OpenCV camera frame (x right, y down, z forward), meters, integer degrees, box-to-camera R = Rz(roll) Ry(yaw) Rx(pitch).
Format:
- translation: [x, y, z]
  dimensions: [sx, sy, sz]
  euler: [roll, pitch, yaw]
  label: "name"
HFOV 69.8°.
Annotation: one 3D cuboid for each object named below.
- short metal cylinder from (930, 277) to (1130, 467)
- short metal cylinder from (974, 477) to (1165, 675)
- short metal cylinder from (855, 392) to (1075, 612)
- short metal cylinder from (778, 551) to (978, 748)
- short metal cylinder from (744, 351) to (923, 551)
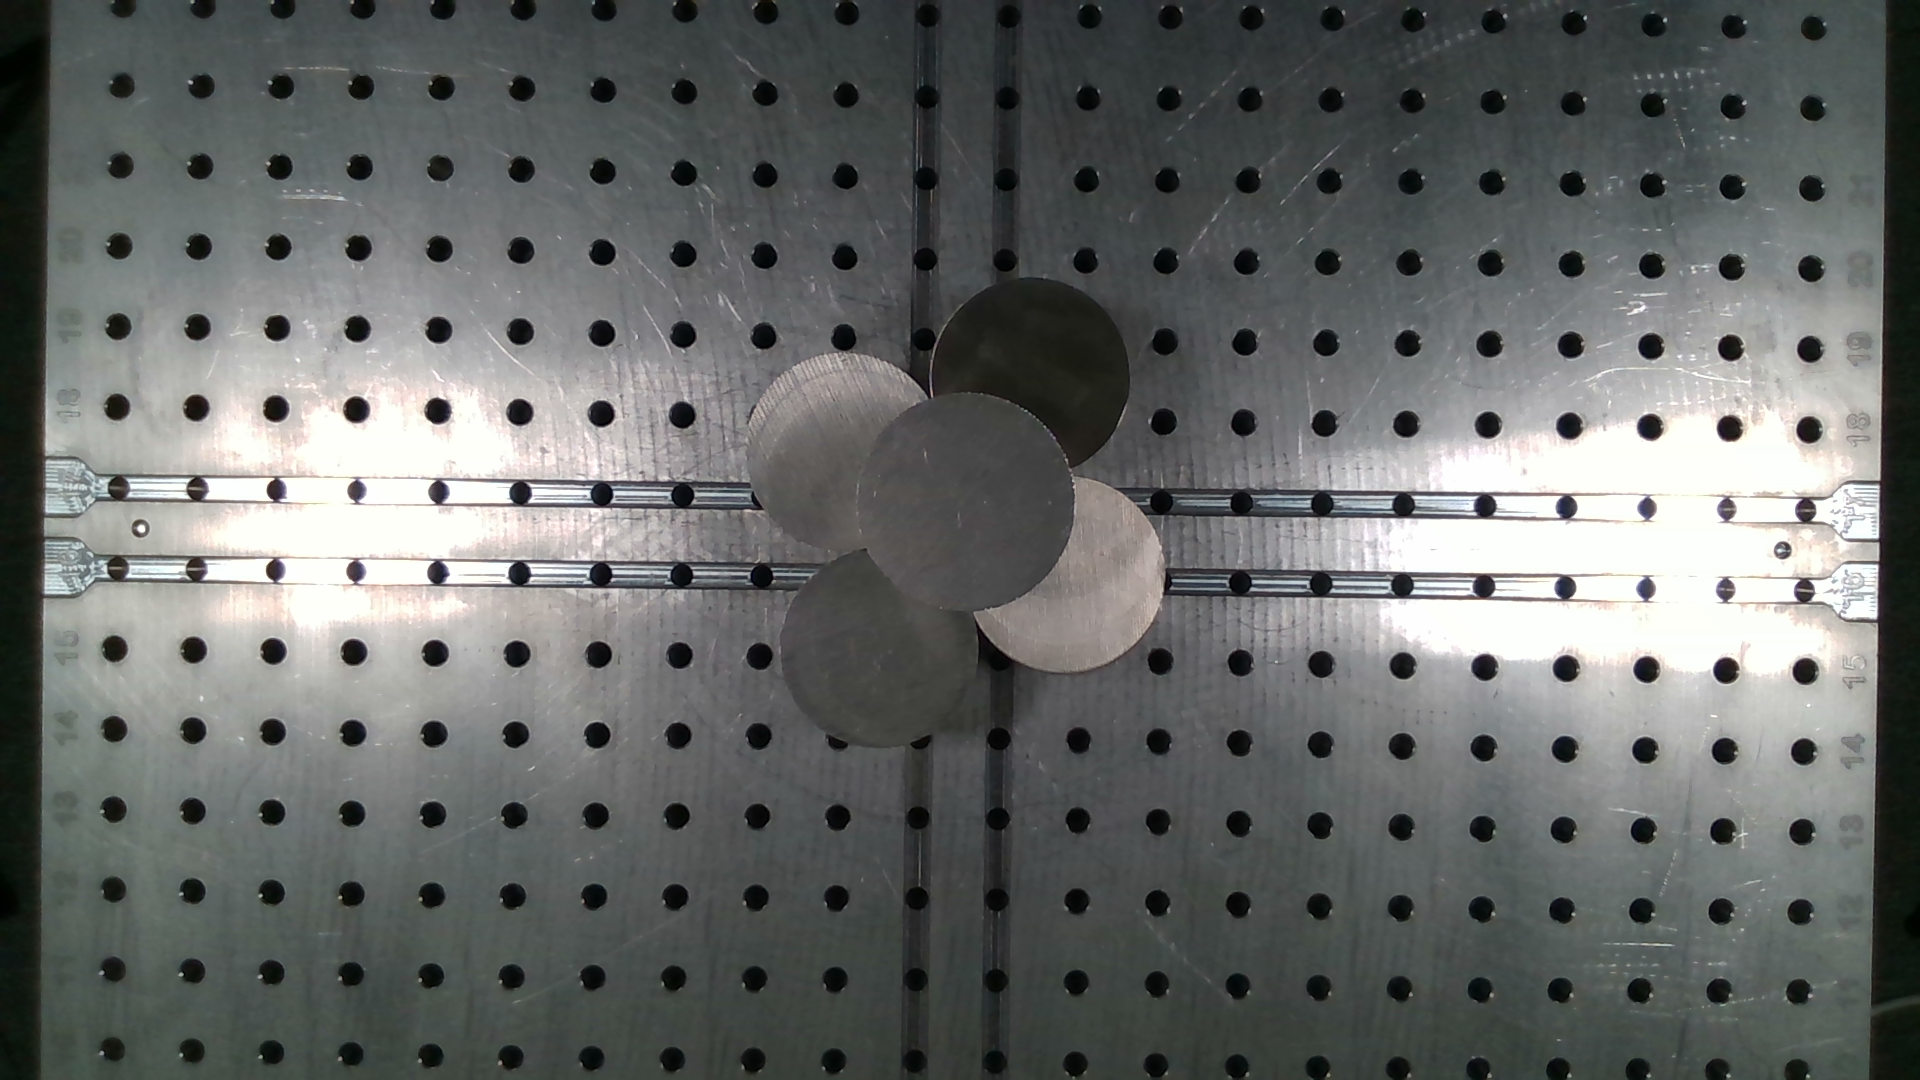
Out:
- translation: [0.028, -0.065, 0.576]
  dimensions: [0.080, 0.050, 0.080]
  euler: [0, 90, 0]
  label: "short metal cylinder"
- translation: [0.042, 0.014, 0.576]
  dimensions: [0.080, 0.050, 0.080]
  euler: [0, 90, 0]
  label: "short metal cylinder"
- translation: [0.002, -0.014, 0.525]
  dimensions: [0.080, 0.050, 0.080]
  euler: [0, 91, 1]
  label: "short metal cylinder"
- translation: [-0.033, 0.043, 0.576]
  dimensions: [0.080, 0.050, 0.080]
  euler: [0, 90, 0]
  label: "short metal cylinder"
- translation: [-0.047, -0.036, 0.576]
  dimensions: [0.080, 0.050, 0.080]
  euler: [0, 90, 0]
  label: "short metal cylinder"
